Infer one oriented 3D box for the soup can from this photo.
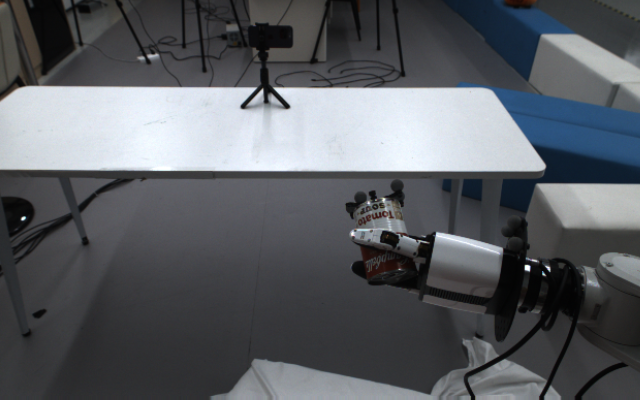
[{"bbox_3d":[0.088,0.057,0.649,0.067,0.067,0.101,-6,67,-12],"label":"soup can"}]
